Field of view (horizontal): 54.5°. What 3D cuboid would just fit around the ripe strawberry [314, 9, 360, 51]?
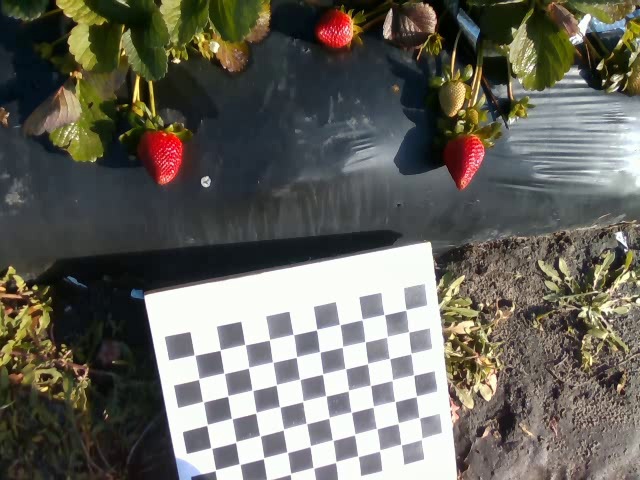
[{"bbox_3d":[0.012,-0.187,0.544,0.046,0.035,0.035,-12,10,-23],"label":"ripe strawberry"}]

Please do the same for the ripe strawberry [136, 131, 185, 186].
[{"bbox_3d":[-0.135,-0.068,0.524,0.045,0.055,0.042,-2,-24,-20],"label":"ripe strawberry"}]

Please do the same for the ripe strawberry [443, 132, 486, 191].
[{"bbox_3d":[0.128,-0.071,0.563,0.042,0.059,0.042,13,-8,-20],"label":"ripe strawberry"}]
